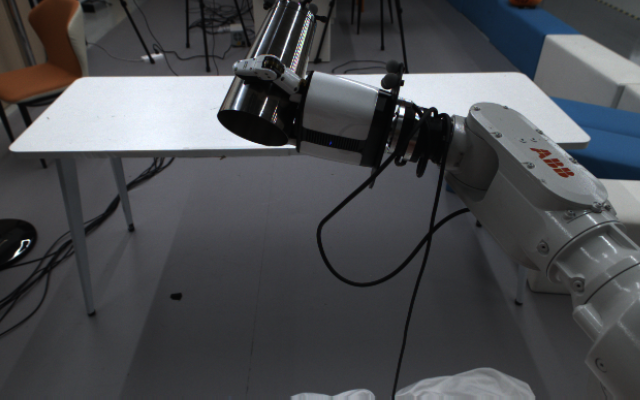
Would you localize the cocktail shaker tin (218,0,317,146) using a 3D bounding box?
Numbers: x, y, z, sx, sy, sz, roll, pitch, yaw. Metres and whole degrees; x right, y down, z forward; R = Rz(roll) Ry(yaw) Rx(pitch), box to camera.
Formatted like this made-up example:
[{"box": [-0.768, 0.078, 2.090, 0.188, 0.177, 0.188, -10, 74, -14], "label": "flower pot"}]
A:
[{"box": [-0.060, -0.166, 0.621, 0.093, 0.093, 0.170, 13, 73, 15], "label": "cocktail shaker tin"}]
